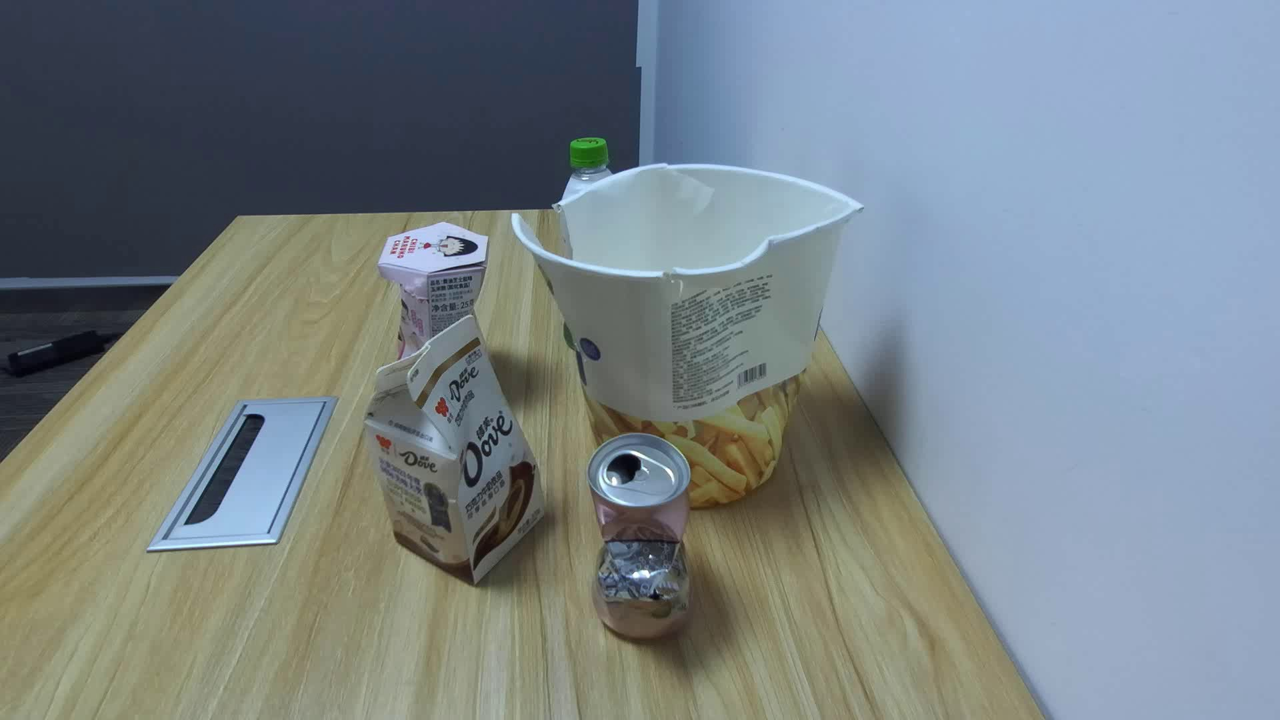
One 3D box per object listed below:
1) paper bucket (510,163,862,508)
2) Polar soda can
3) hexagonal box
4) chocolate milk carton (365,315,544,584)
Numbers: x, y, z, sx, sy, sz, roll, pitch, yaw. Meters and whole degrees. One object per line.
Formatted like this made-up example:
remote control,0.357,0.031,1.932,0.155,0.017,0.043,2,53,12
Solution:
paper bucket,0.034,-0.017,0.497,0.203,0.197,0.145,-29,43,-35
Polar soda can,0.001,0.103,0.403,0.074,0.114,0.070,23,45,34
hexagonal box,-0.159,-0.033,0.580,0.090,0.134,0.091,24,40,25
chocolate milk carton,-0.112,0.050,0.440,0.073,0.155,0.084,20,38,26
